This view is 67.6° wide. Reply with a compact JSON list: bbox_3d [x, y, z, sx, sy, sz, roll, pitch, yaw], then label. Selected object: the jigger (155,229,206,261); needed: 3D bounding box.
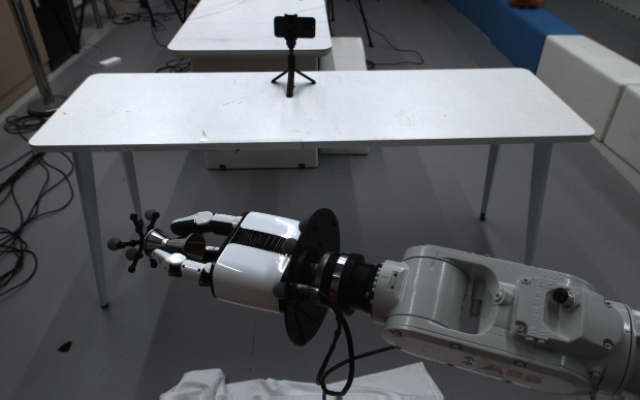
[{"bbox_3d":[-0.182,0.055,0.632,0.071,0.043,0.043,4,33,24],"label":"jigger"}]
